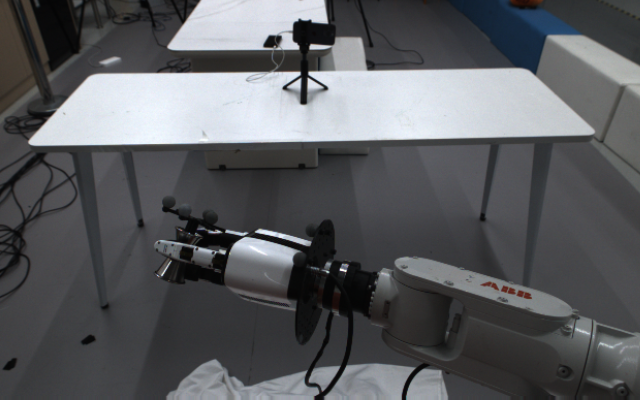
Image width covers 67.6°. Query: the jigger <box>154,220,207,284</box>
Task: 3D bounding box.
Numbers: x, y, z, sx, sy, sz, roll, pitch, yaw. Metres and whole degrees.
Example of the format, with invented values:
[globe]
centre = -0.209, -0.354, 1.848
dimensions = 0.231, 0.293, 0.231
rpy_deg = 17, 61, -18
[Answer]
[jigger]
centre = -0.189, 0.073, 0.646
dimensions = 0.043, 0.071, 0.043
rpy_deg = 24, -2, 1
